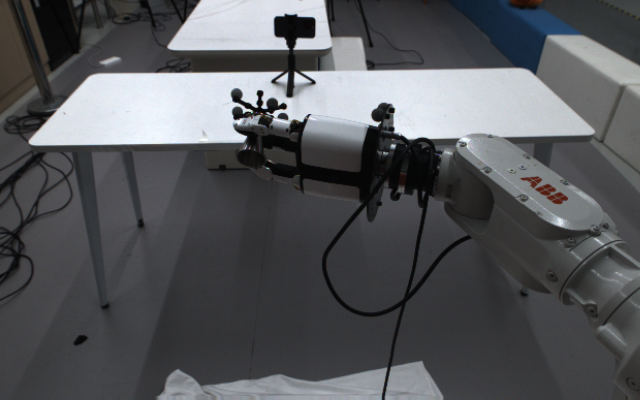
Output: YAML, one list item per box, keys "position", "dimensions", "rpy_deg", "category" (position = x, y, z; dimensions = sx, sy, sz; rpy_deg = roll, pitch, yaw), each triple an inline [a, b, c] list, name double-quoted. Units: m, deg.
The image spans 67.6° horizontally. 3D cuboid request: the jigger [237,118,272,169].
- position: [-0.095, -0.089, 0.689]
  dimensions: [0.043, 0.043, 0.071]
  rpy_deg: [4, 60, 2]
  category: "jigger"
